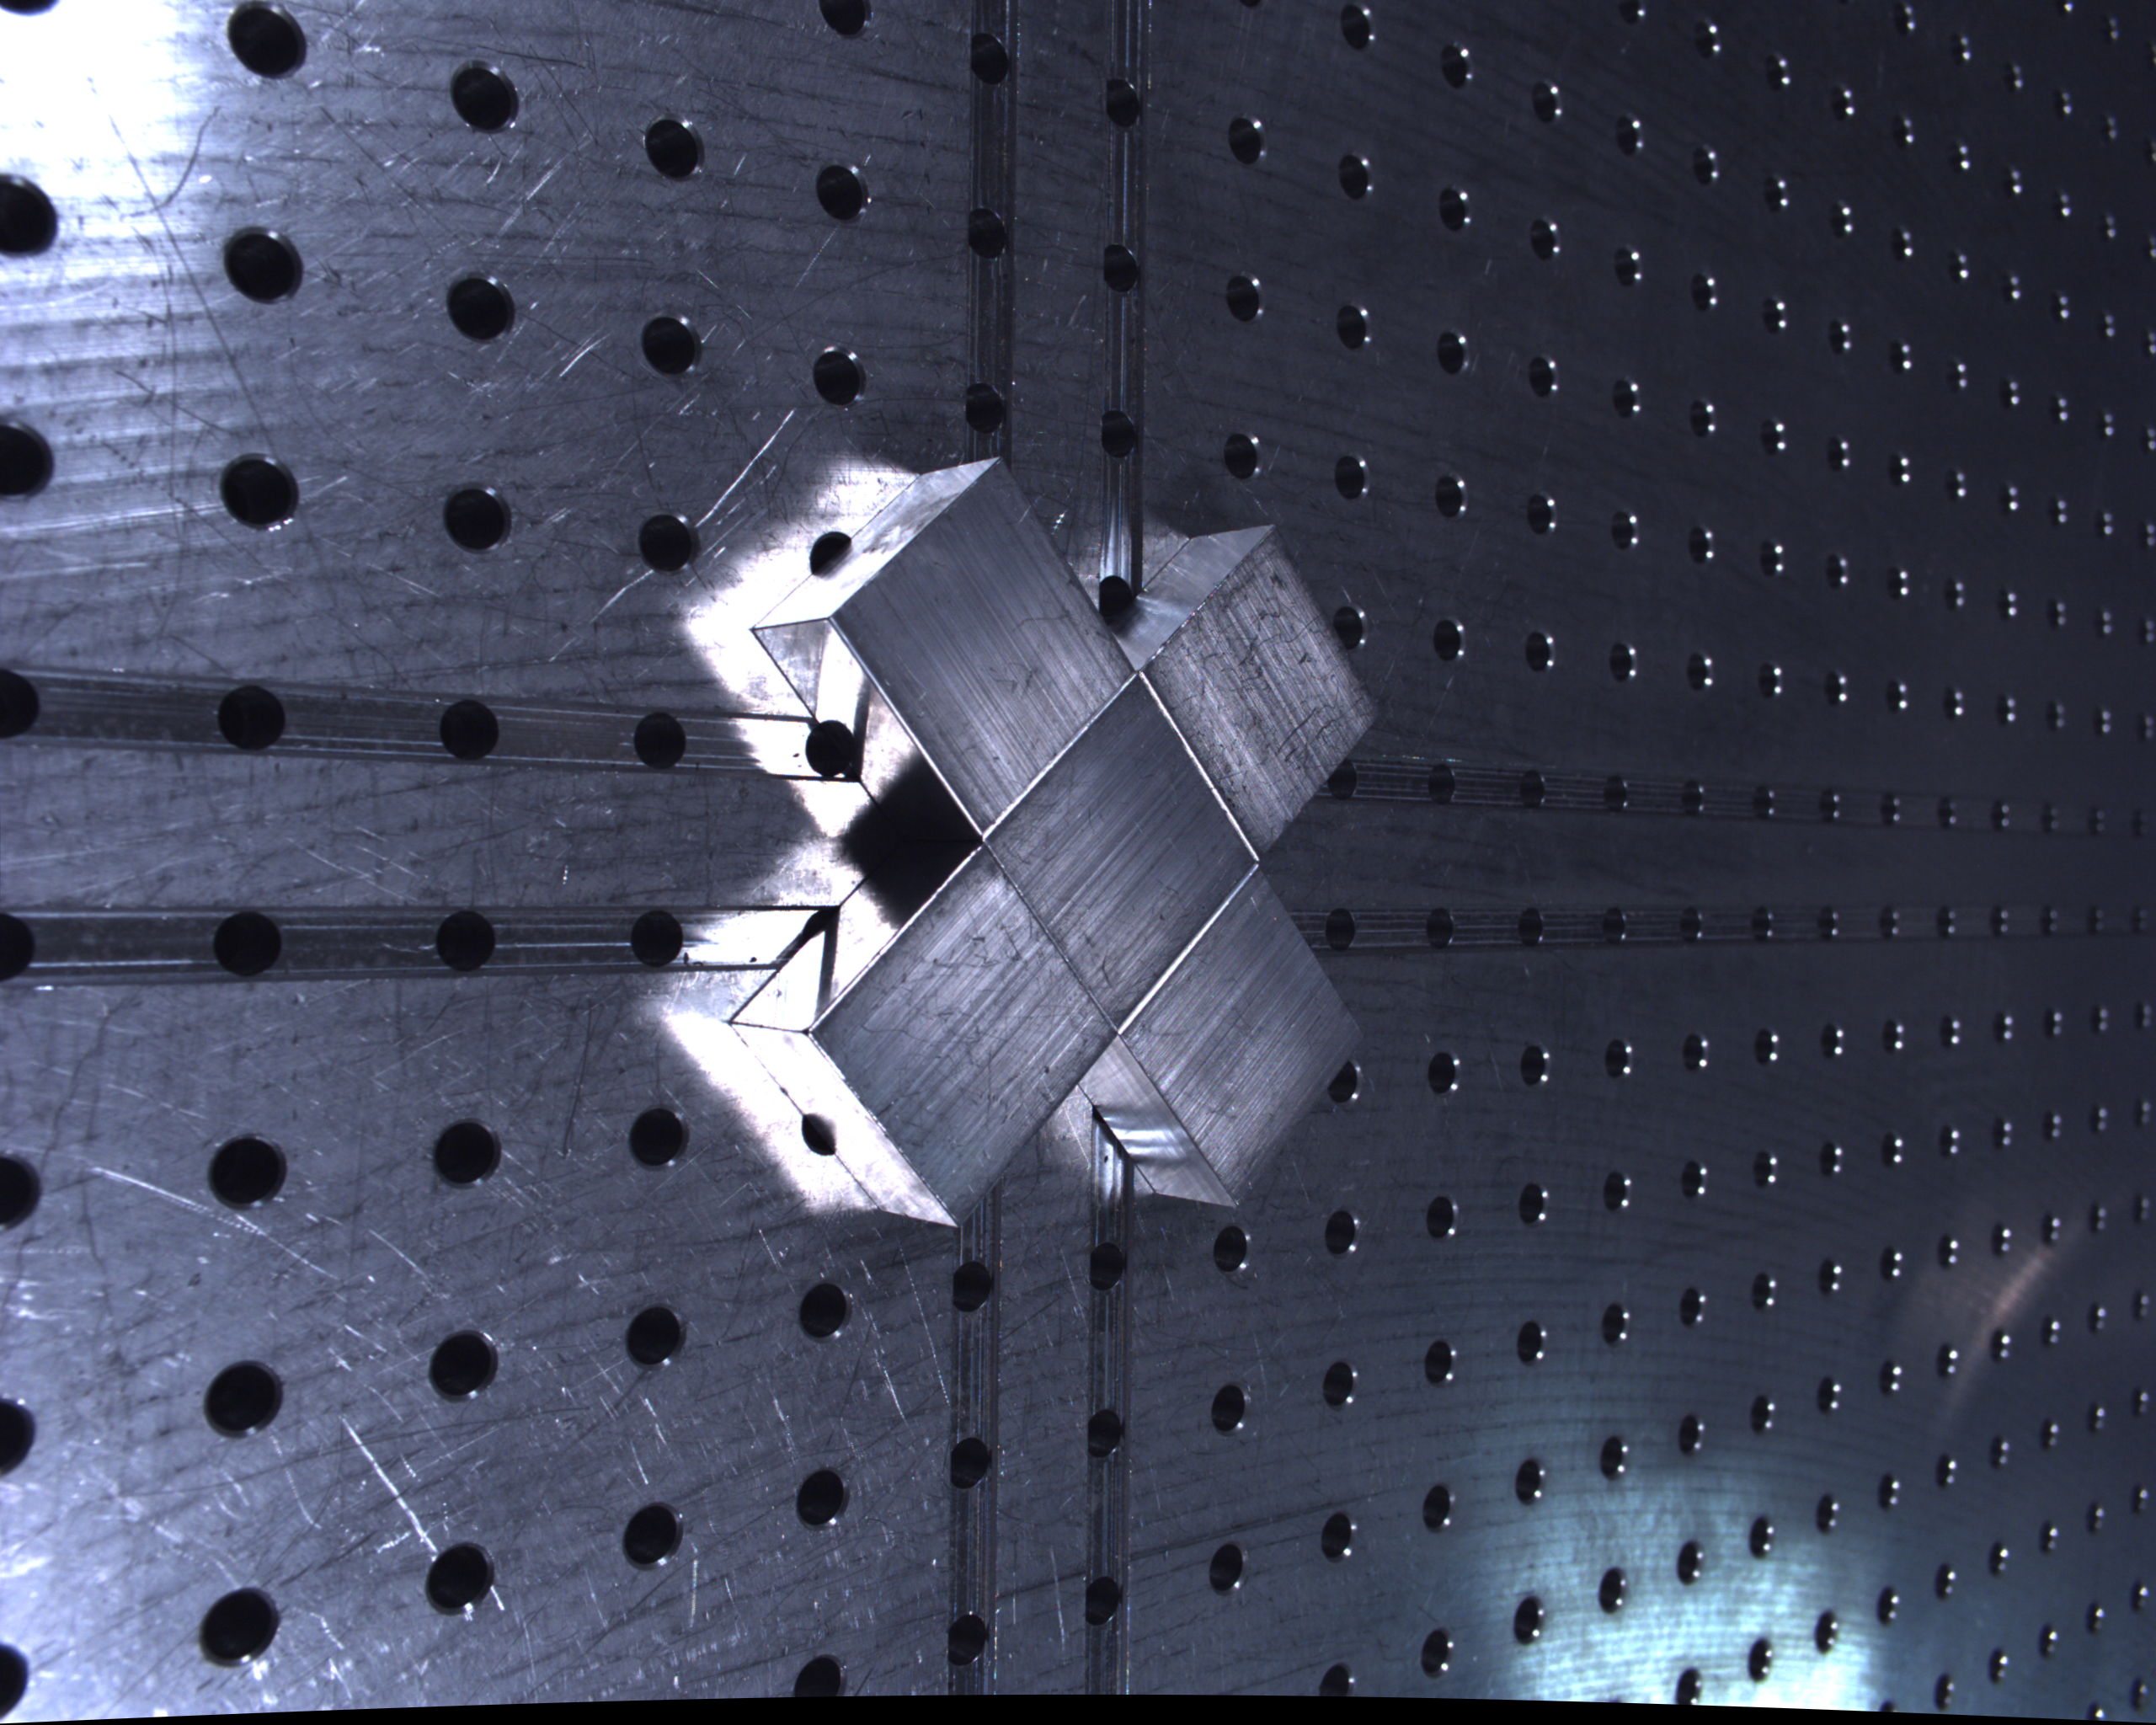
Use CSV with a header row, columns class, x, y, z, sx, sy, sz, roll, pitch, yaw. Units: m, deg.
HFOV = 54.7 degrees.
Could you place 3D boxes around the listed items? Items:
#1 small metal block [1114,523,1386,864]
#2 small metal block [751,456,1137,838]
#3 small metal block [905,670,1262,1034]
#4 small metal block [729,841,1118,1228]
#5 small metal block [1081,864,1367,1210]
class,x,y,z,sx,sy,sz,roll,pitch,yaw
small metal block,0.031,-0.035,0.437,0.050,0.025,0.050,-49,119,-29
small metal block,-0.024,-0.040,0.391,0.050,0.025,0.050,-49,119,-29
small metal block,0.002,-0.002,0.412,0.050,0.025,0.050,-49,119,-29
small metal block,-0.027,0.031,0.388,0.050,0.025,0.050,-49,119,-29
small metal block,0.027,0.035,0.434,0.050,0.025,0.050,-49,119,-29
